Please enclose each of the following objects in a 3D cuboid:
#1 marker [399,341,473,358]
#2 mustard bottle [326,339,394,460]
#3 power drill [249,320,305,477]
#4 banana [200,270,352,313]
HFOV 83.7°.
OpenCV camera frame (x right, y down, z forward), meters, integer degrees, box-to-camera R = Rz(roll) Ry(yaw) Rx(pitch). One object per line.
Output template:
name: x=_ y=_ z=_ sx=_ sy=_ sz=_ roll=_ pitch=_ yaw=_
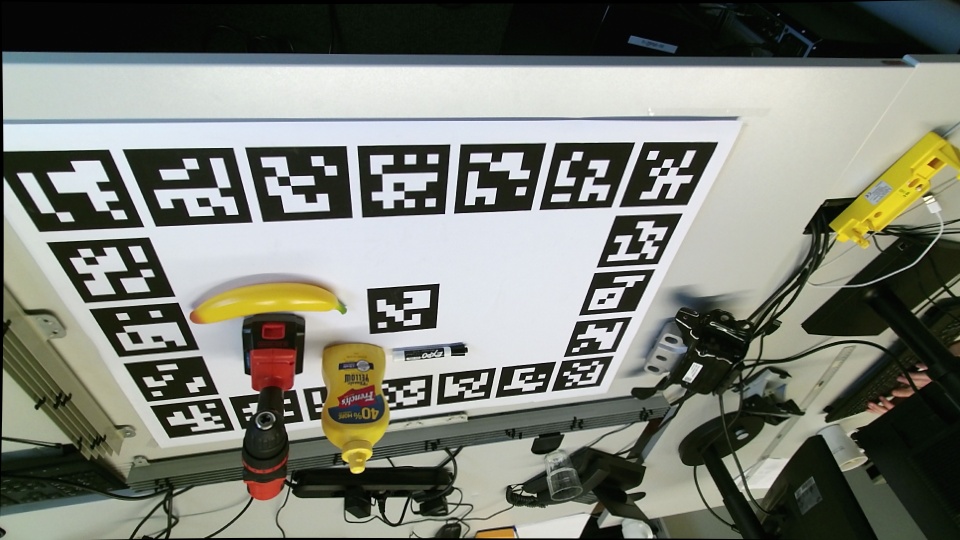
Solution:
marker: x=-0.072 y=0.131 z=0.889 sx=0.121 sy=0.019 sz=0.019 roll=-3 pitch=132 yaw=-14
mustard bottle: x=-0.177 y=0.190 z=0.794 sx=0.096 sy=0.190 sz=0.058 roll=5 pitch=131 yaw=-19
power drill: x=-0.271 y=0.161 z=0.717 sx=0.057 sy=0.186 sz=0.184 roll=7 pitch=132 yaw=-20
banana: x=-0.272 y=0.032 z=0.728 sx=0.198 sy=0.038 sz=0.074 roll=1 pitch=130 yaw=-19
